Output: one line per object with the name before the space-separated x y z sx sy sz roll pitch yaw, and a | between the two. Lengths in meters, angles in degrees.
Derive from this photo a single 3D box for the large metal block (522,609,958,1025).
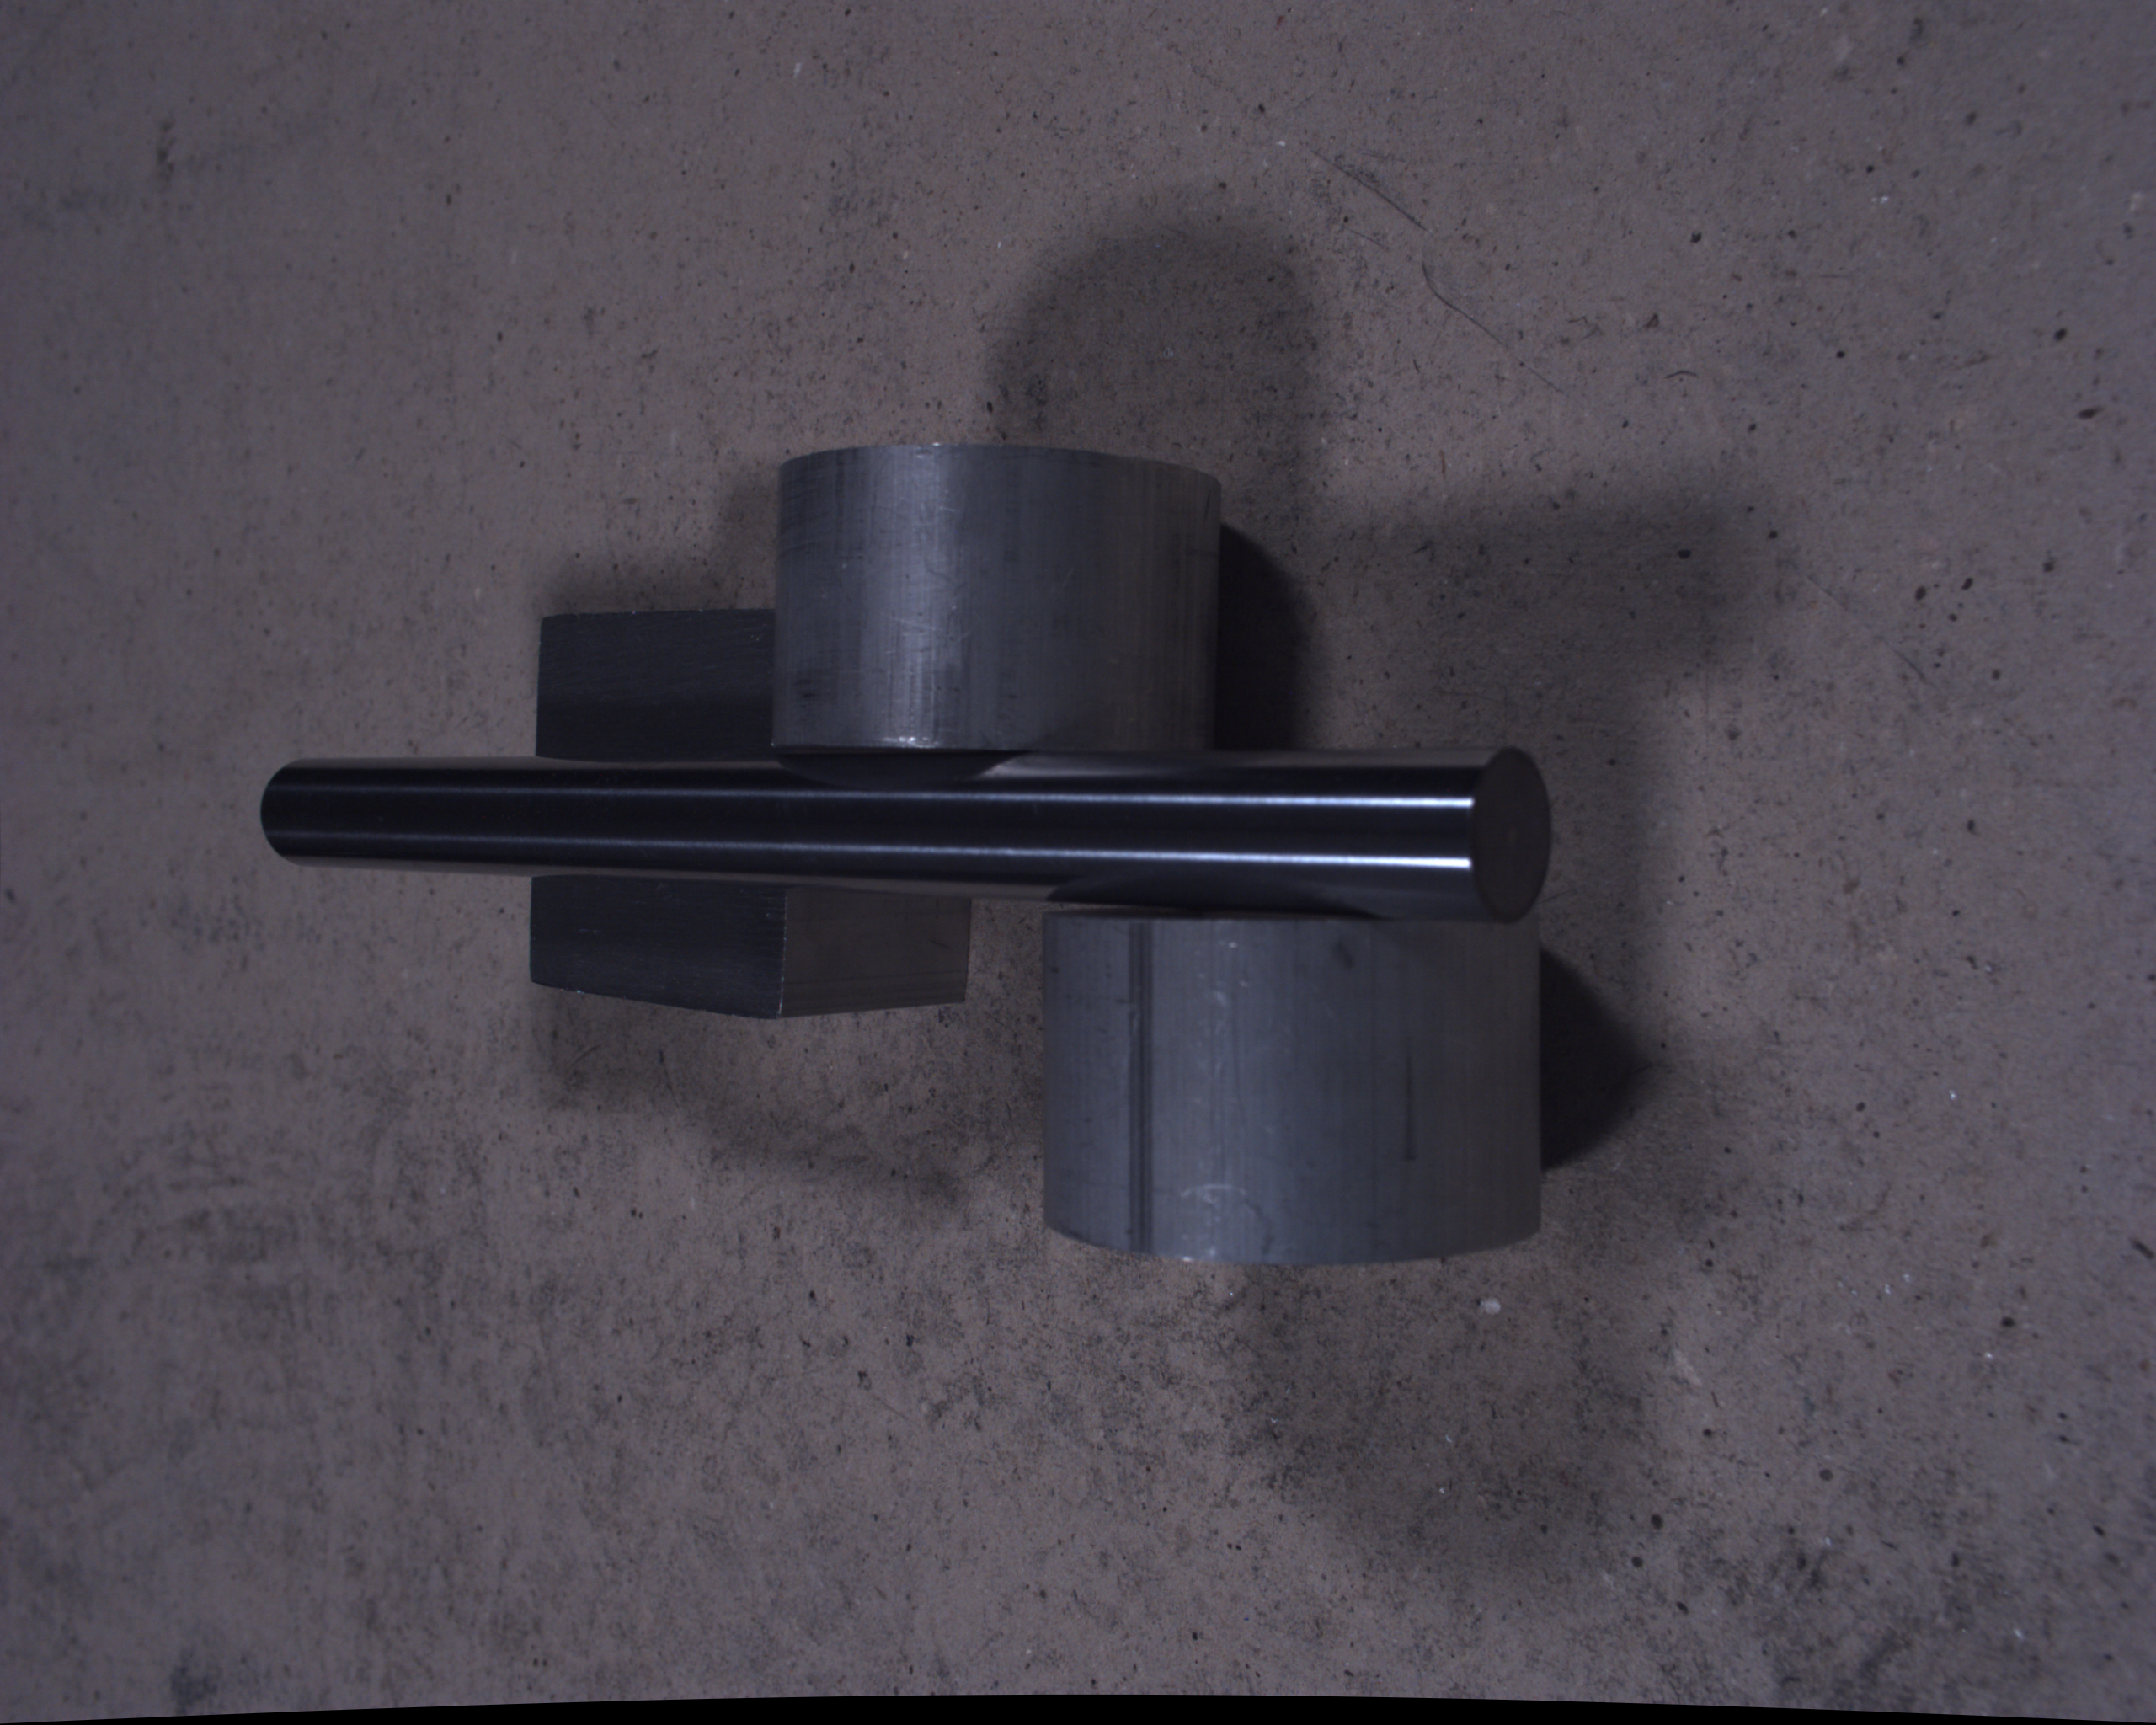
large metal block | -0.071 -0.011 0.443 0.080 0.050 0.079 4 93 39

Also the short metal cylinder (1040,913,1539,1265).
short metal cylinder | 0.034 0.033 0.340 0.080 0.081 0.050 0 90 39

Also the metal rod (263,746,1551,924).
metal rod | -0.057 -0.008 0.385 0.300 0.025 0.025 2 91 38

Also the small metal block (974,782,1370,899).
small metal block | 0.017 -0.005 0.373 0.050 0.050 0.025 2 91 39

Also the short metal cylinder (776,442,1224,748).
short metal cylinder | -0.014 -0.045 0.382 0.080 0.081 0.050 3 92 39
